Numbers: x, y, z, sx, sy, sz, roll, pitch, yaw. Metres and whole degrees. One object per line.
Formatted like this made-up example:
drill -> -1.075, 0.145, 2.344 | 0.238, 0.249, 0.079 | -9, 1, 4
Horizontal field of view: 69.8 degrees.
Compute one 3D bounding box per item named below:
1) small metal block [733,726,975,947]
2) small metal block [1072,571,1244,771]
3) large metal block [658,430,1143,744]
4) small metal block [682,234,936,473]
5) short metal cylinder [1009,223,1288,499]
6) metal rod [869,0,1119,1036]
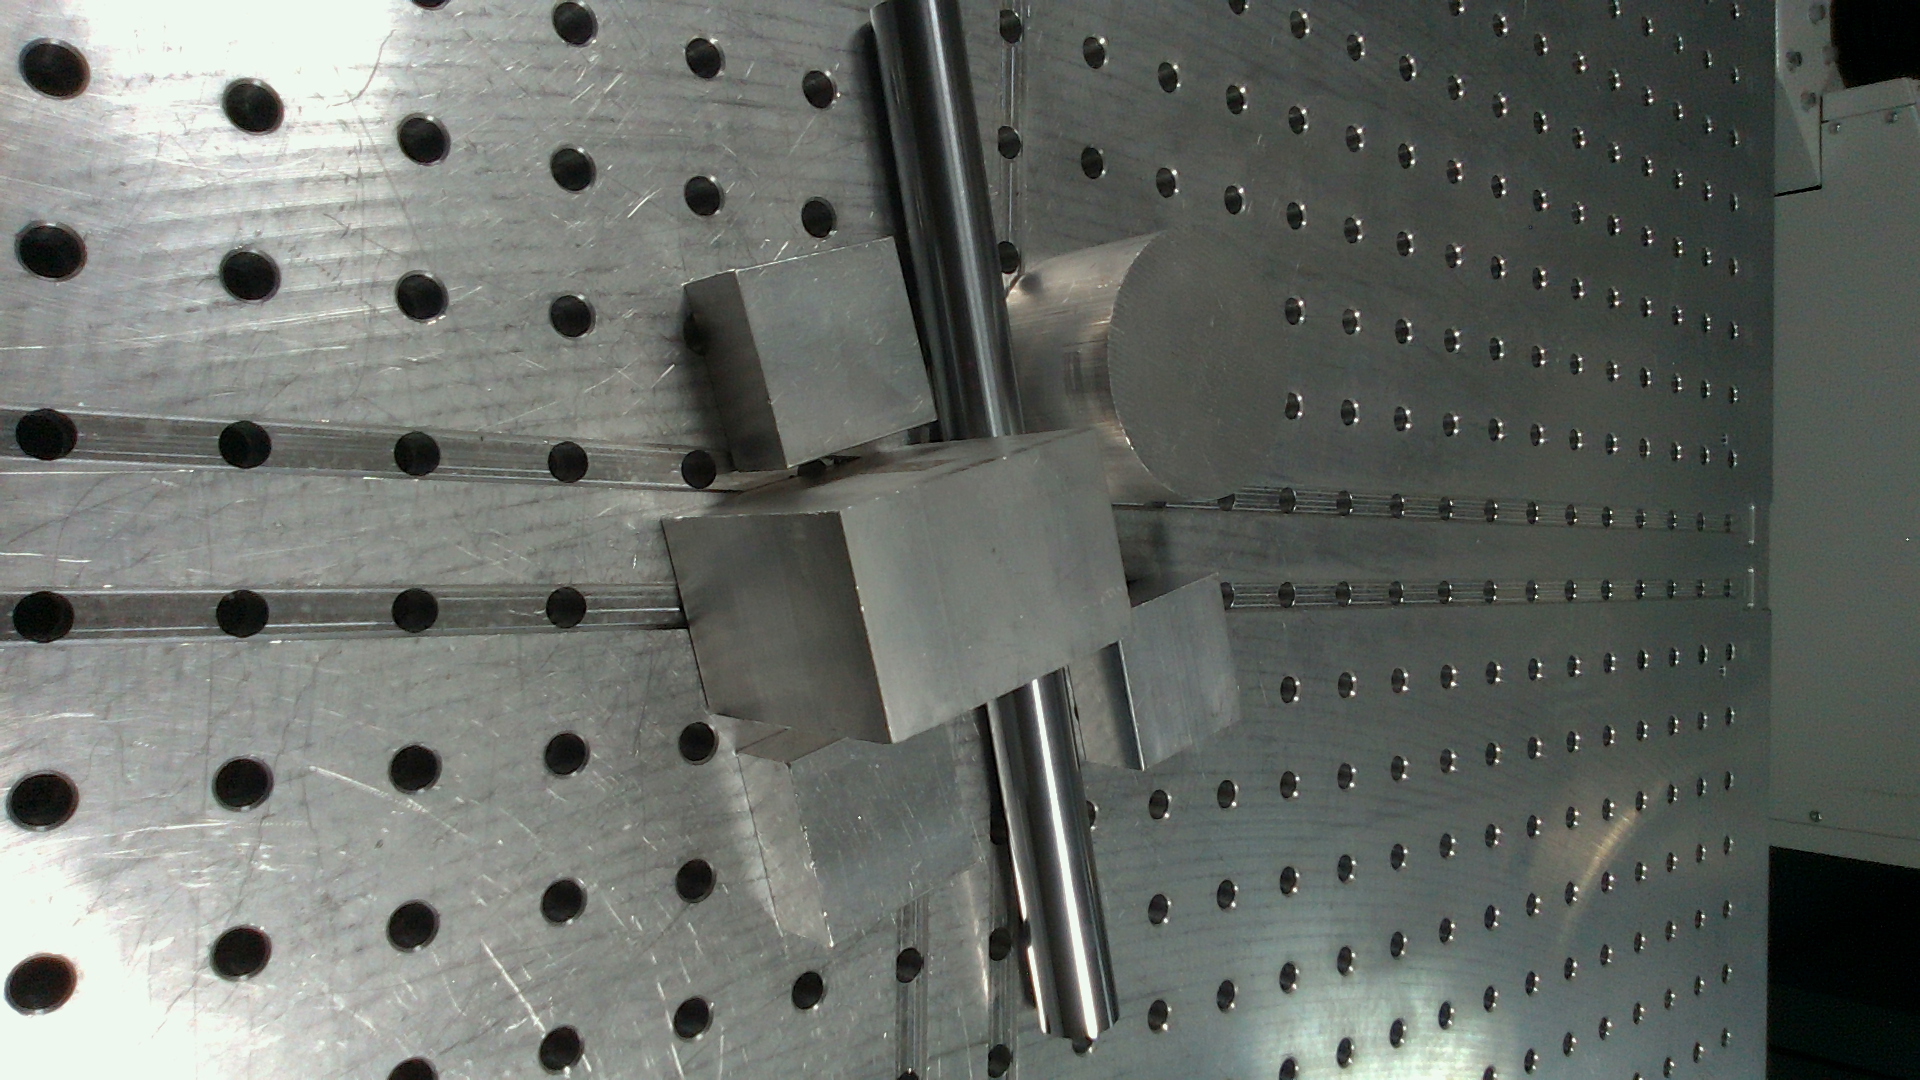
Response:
small metal block -> -0.027, 0.072, 0.369 | 0.050, 0.025, 0.050 | -20, 103, -38
small metal block -> 0.062, 0.041, 0.443 | 0.050, 0.025, 0.050 | -19, 102, -38
large metal block -> -0.015, 0.008, 0.342 | 0.080, 0.080, 0.050 | -20, 103, -38
small metal block -> -0.039, -0.049, 0.360 | 0.050, 0.025, 0.050 | -22, 104, -38
short metal cylinder -> 0.055, -0.052, 0.421 | 0.080, 0.050, 0.080 | 0, 90, -40
metal rod -> 0.012, -0.001, 0.401 | 0.025, 0.025, 0.300 | -16, 100, -39
